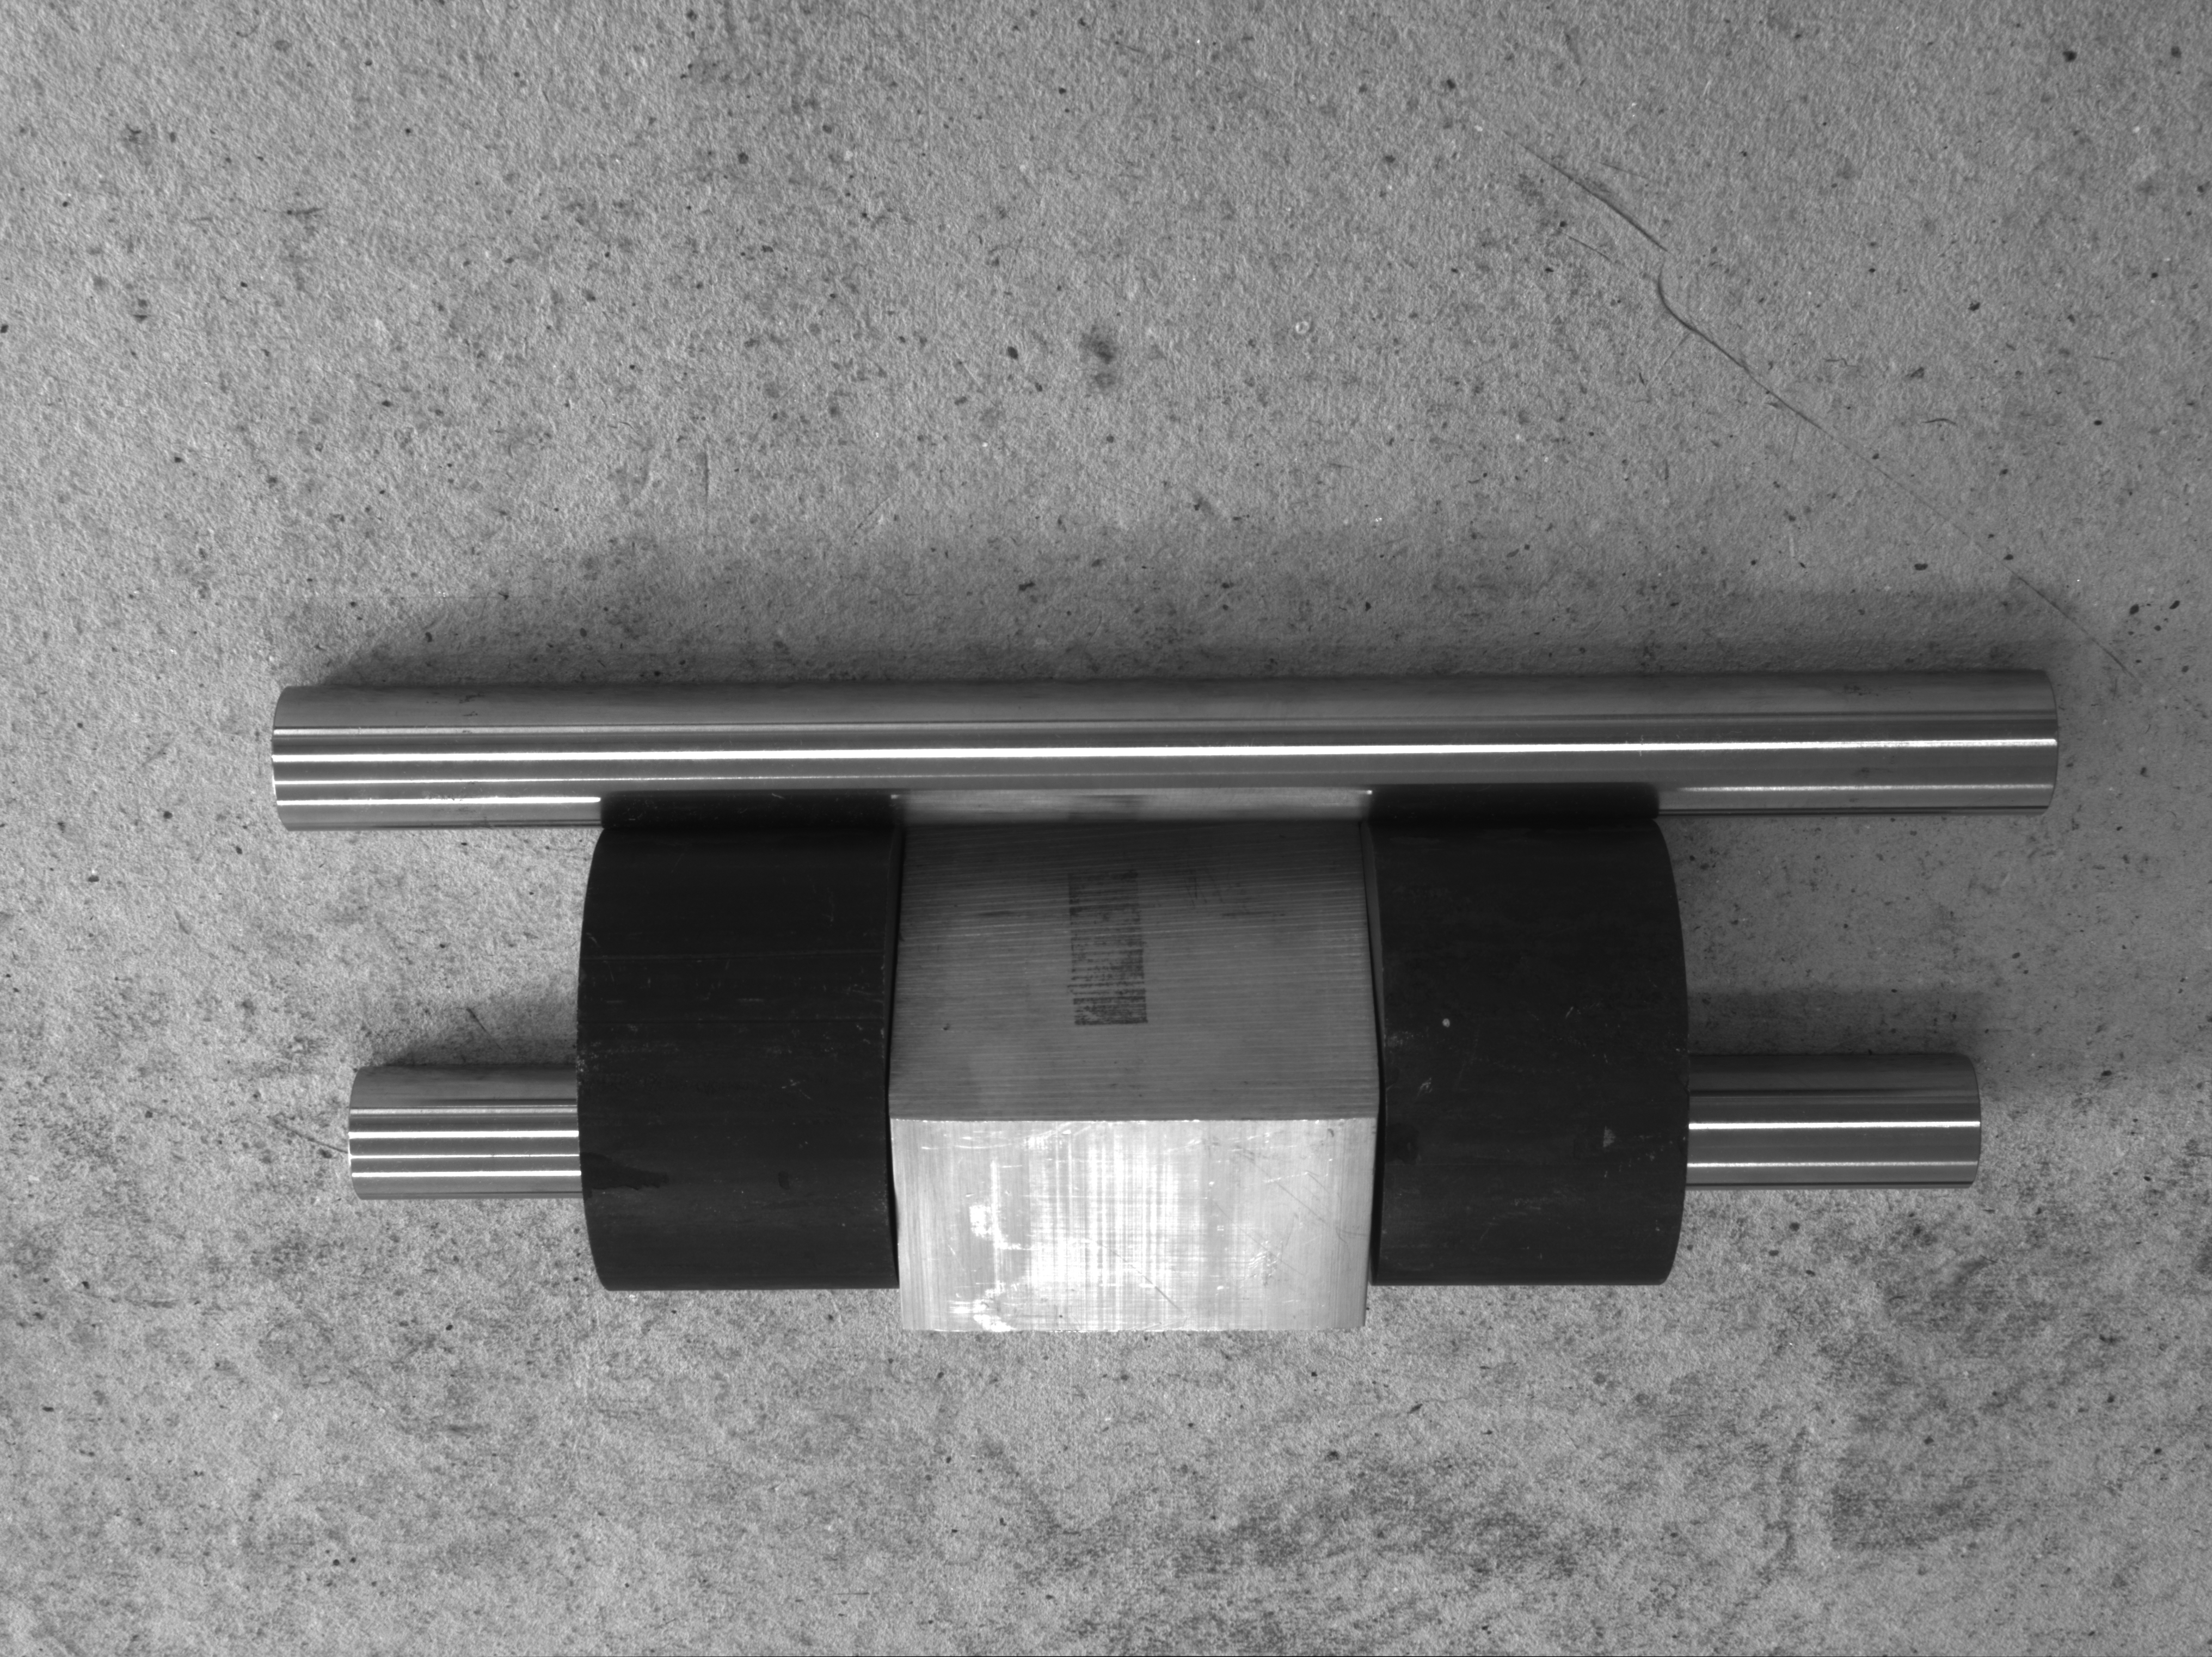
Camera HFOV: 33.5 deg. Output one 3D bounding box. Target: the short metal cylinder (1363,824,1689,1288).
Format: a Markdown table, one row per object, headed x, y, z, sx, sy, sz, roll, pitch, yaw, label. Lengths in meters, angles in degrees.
| x | y | z | sx | sy | sz | roll | pitch | yaw | label |
| --- | --- | --- | --- | --- | --- | --- | --- | --- | --- |
| 0.070 | 0.039 | 0.636 | 0.050 | 0.080 | 0.080 | -1 | 130 | 1 | short metal cylinder |

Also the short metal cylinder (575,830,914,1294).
| x | y | z | sx | sy | sz | roll | pitch | yaw | label |
| --- | --- | --- | --- | --- | --- | --- | --- | --- | --- |
| -0.061 | 0.040 | 0.637 | 0.050 | 0.080 | 0.080 | -1 | 130 | 1 | short metal cylinder |

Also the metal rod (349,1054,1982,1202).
| x | y | z | sx | sy | sz | roll | pitch | yaw | label |
| --- | --- | --- | --- | --- | --- | --- | --- | --- | --- |
| 0.011 | 0.056 | 0.687 | 0.300 | 0.025 | 0.025 | -1 | 130 | 0 | metal rod |

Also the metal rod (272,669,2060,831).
| x | y | z | sx | sy | sz | roll | pitch | yaw | label |
| --- | --- | --- | --- | --- | --- | --- | --- | --- | --- |
| 0.010 | -0.013 | 0.629 | 0.300 | 0.025 | 0.025 | -1 | 130 | 0 | metal rod |

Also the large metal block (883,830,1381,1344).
| x | y | z | sx | sy | sz | roll | pitch | yaw | label |
| --- | --- | --- | --- | --- | --- | --- | --- | --- | --- |
| 0.004 | 0.042 | 0.636 | 0.080 | 0.080 | 0.050 | 0 | 130 | 0 | large metal block |
